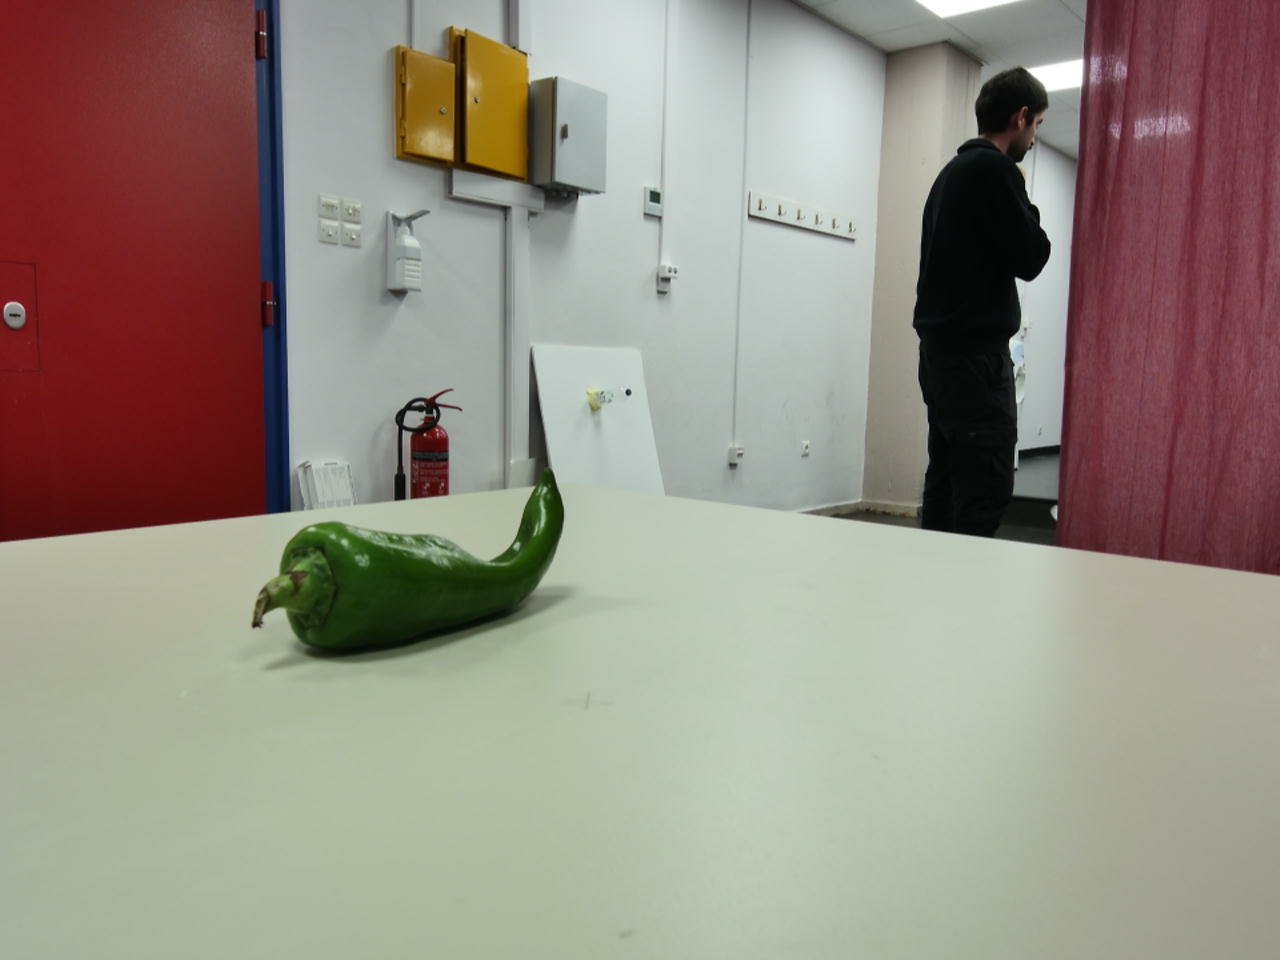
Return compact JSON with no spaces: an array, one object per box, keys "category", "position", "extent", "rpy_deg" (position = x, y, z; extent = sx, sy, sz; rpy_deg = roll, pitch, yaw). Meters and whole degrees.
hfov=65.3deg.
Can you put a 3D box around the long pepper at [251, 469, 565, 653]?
[{"category":"long pepper","position":[-0.089,0.033,0.438],"extent":[0.058,0.065,0.175],"rpy_deg":[3,5,38]}]
